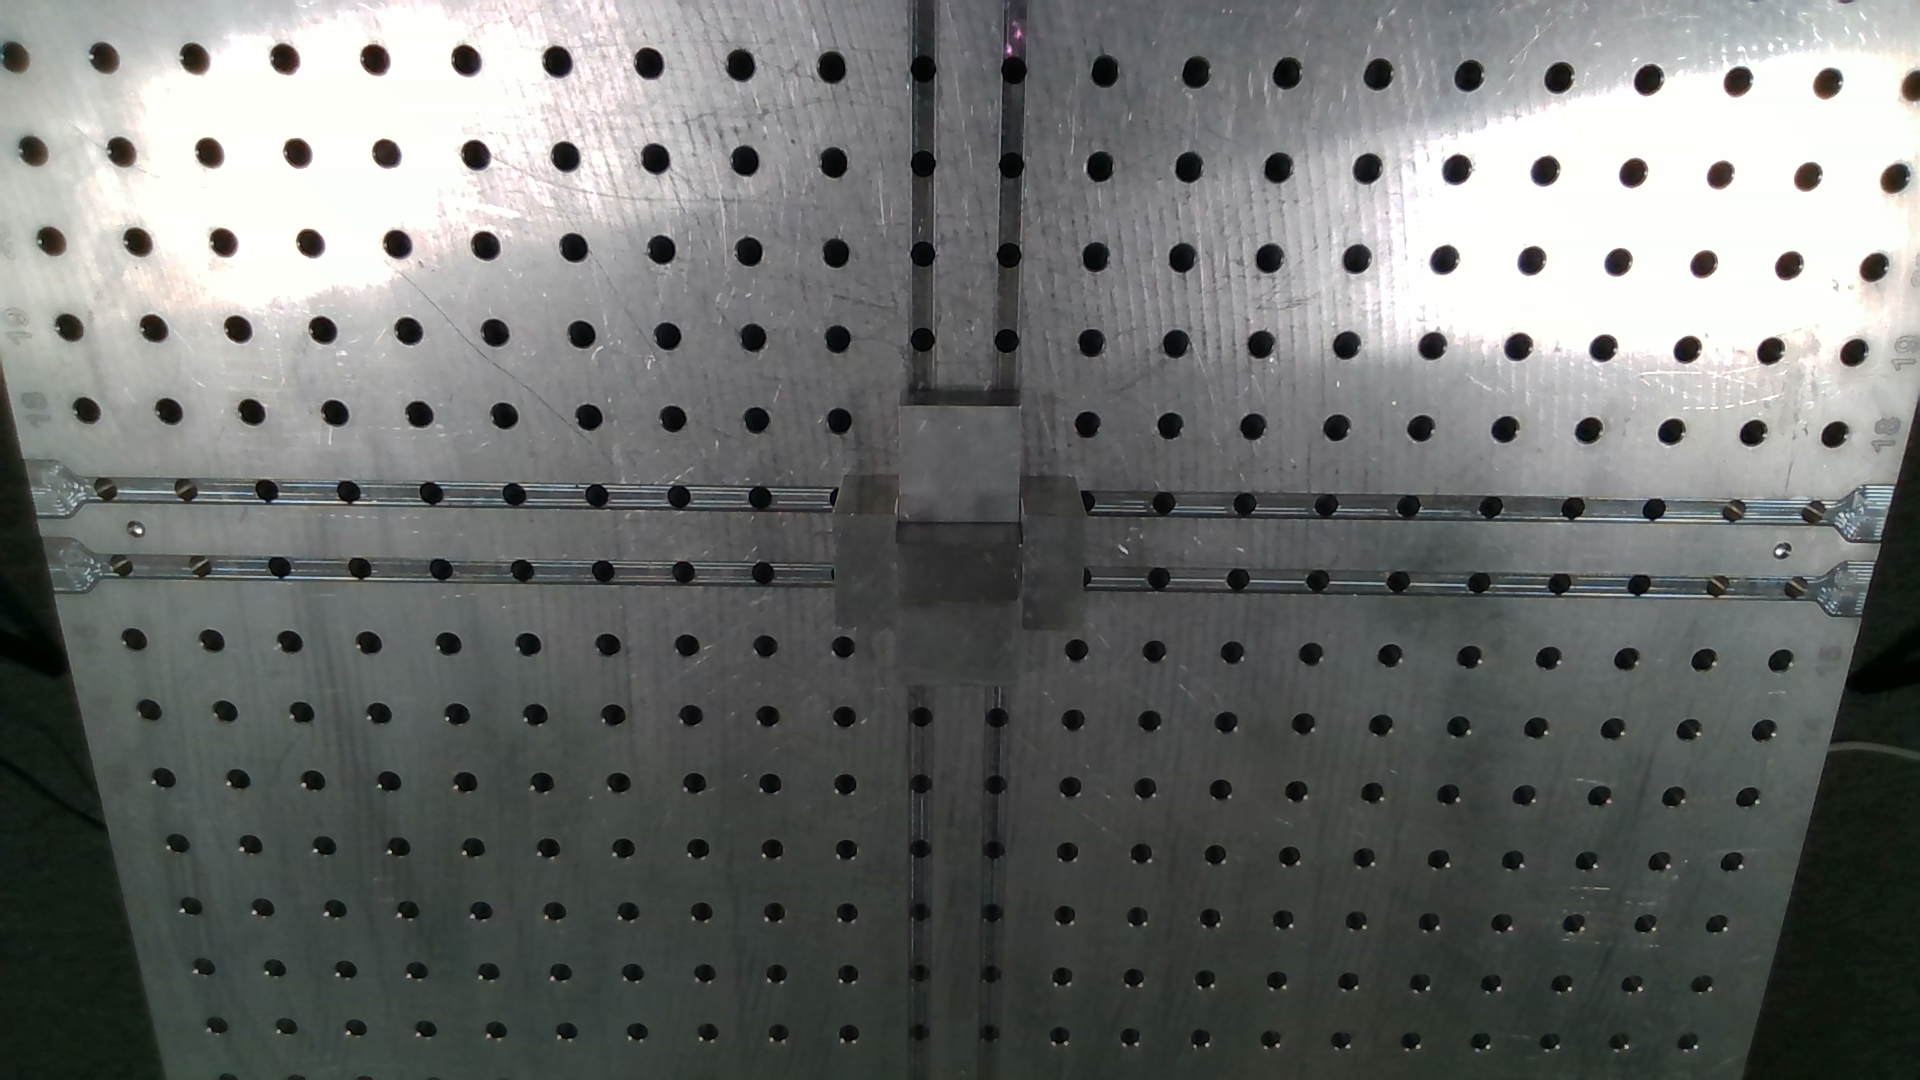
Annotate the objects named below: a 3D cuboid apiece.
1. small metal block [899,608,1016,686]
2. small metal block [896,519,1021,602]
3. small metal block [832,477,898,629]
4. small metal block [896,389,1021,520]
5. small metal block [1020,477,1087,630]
[{"bbox_3d":[-0.001,0.035,0.600,0.050,0.025,0.050,1,110,0],"label":"small metal block"},{"bbox_3d":[-0.001,0.004,0.575,0.050,0.050,0.025,1,110,0],"label":"small metal block"},{"bbox_3d":[-0.038,0.004,0.575,0.025,0.050,0.050,1,110,0],"label":"small metal block"},{"bbox_3d":[-0.001,-0.035,0.574,0.050,0.025,0.050,0,110,0],"label":"small metal block"},{"bbox_3d":[0.037,0.005,0.575,0.025,0.050,0.050,1,110,0],"label":"small metal block"}]
